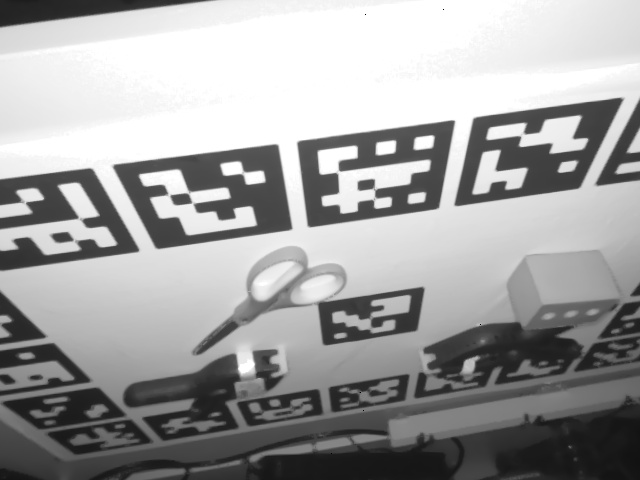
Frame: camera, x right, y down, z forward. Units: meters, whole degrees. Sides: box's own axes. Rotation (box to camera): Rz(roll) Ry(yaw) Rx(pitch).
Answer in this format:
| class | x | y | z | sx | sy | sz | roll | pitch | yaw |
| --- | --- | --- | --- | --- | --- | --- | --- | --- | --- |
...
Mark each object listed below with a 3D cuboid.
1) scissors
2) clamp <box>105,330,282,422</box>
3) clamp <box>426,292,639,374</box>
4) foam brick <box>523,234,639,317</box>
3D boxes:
| class | x | y | z | sx | sy | sz | roll | pitch | yaw |
| --- | --- | --- | --- | --- | --- | --- | --- | --- | --- |
| scissors | -0.044 | 0.036 | 0.582 | 0.088 | 0.016 | 0.199 | 29 | 131 | -31 |
| clamp | -0.110 | 0.129 | 0.688 | 0.164 | 0.037 | 0.122 | -22 | 136 | 15 |
| clamp | 0.214 | 0.109 | 0.735 | 0.203 | 0.037 | 0.164 | -7 | 147 | -3 |
| foam brick | 0.236 | 0.032 | 0.625 | 0.079 | 0.051 | 0.052 | -4 | 143 | -16 |
